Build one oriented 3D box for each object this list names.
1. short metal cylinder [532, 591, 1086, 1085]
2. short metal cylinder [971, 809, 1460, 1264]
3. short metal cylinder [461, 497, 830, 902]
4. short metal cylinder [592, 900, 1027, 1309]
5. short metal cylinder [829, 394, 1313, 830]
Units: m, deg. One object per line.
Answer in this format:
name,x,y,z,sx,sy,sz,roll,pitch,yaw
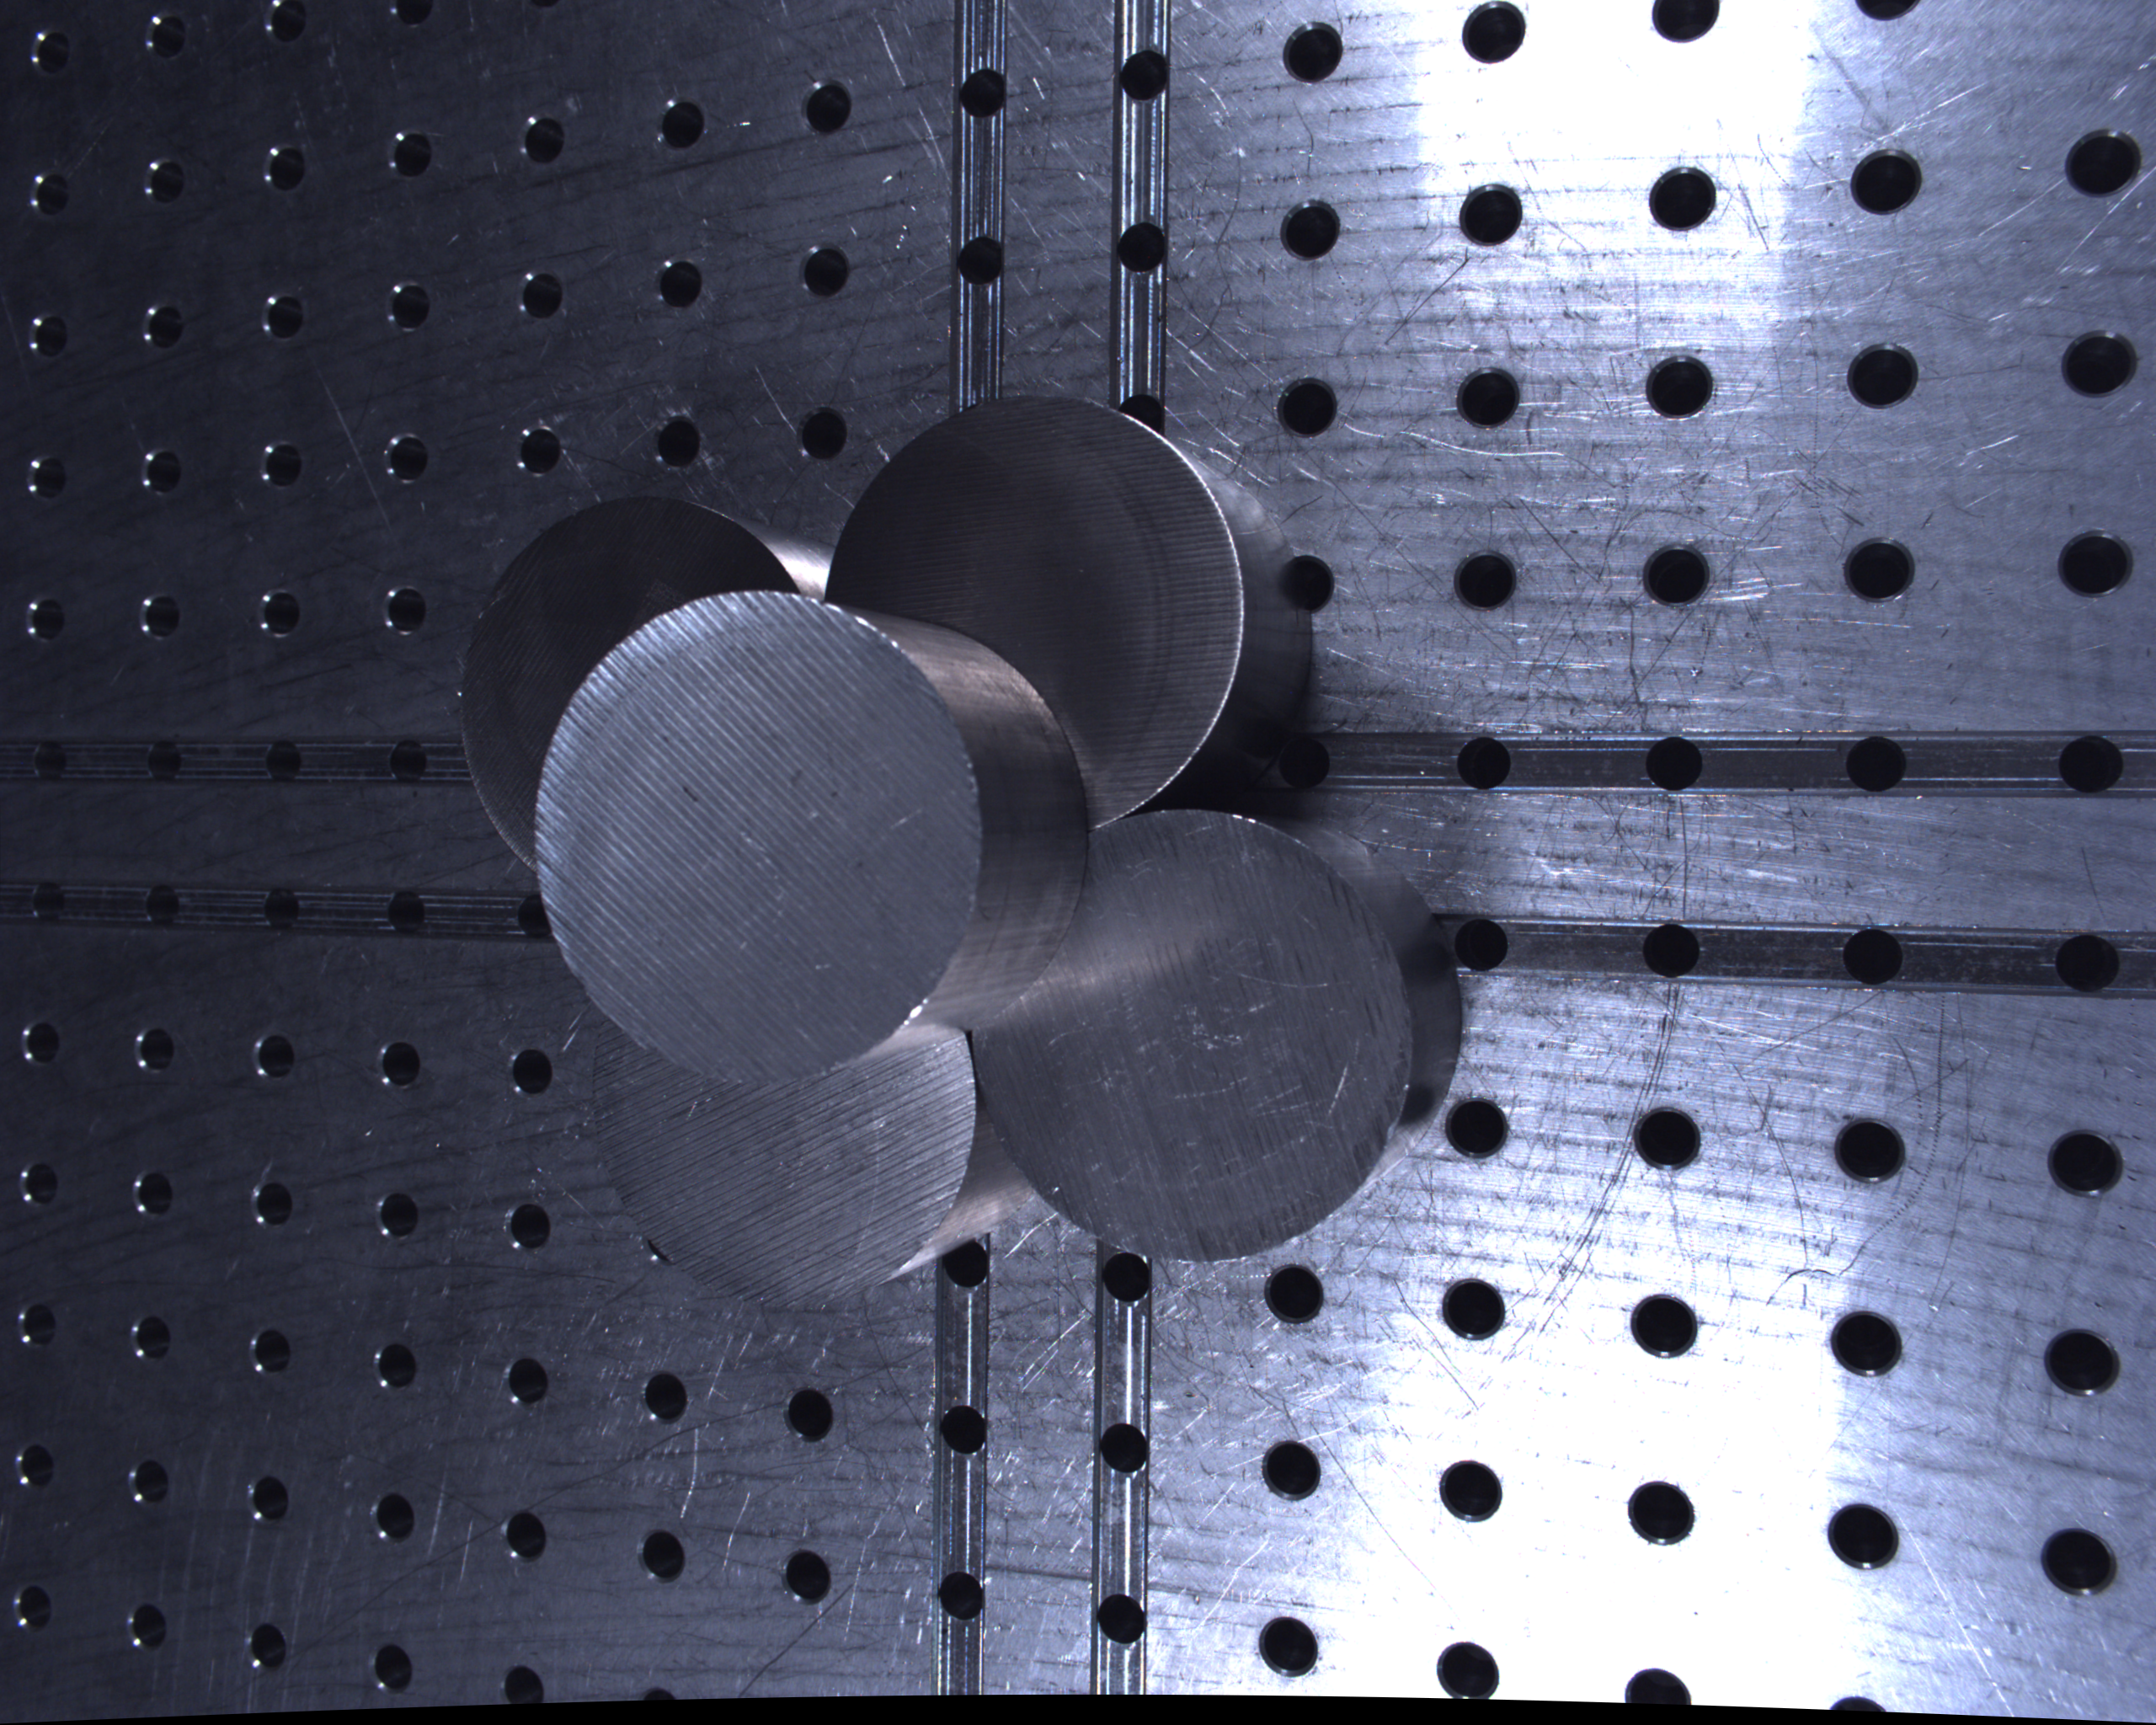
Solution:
short metal cylinder,-0.045,-0.005,0.359,0.080,0.050,0.079,1,92,19
short metal cylinder,0.027,0.030,0.388,0.080,0.050,0.079,0,90,19
short metal cylinder,-0.076,-0.031,0.424,0.080,0.050,0.079,0,90,19
short metal cylinder,-0.048,0.044,0.414,0.080,0.050,0.079,0,90,19
short metal cylinder,0.000,-0.044,0.398,0.080,0.050,0.079,0,90,19
